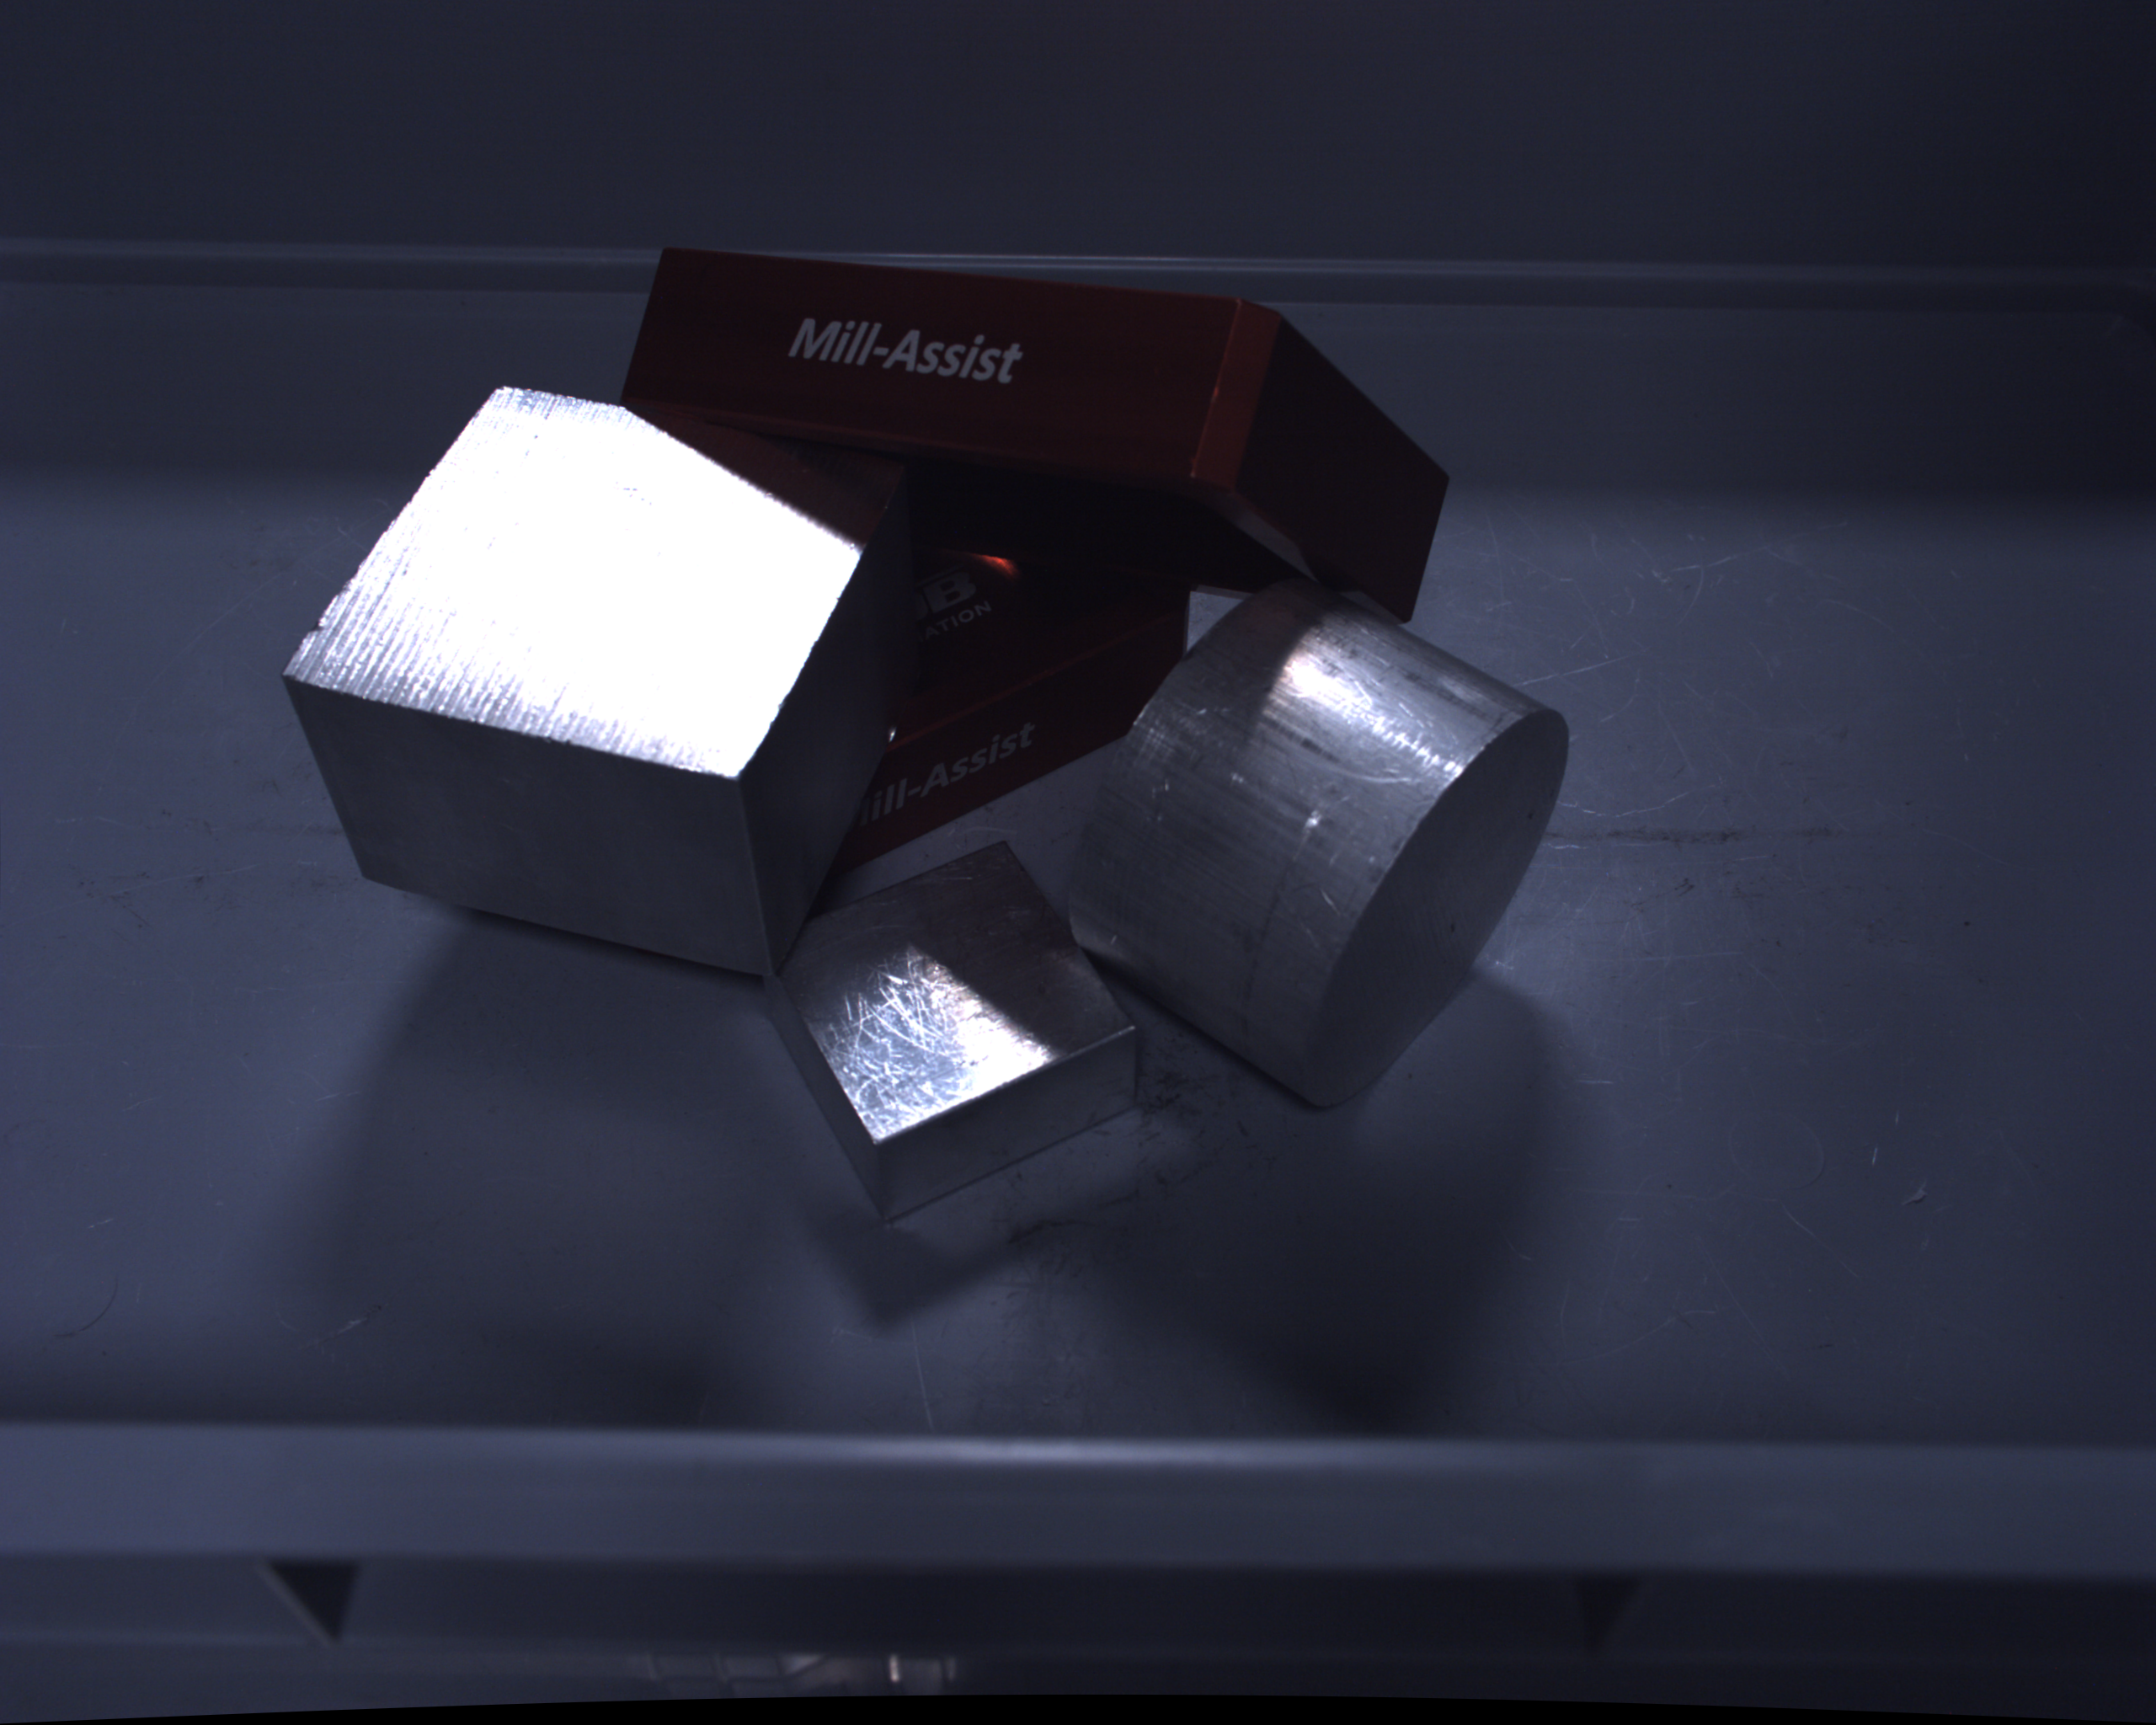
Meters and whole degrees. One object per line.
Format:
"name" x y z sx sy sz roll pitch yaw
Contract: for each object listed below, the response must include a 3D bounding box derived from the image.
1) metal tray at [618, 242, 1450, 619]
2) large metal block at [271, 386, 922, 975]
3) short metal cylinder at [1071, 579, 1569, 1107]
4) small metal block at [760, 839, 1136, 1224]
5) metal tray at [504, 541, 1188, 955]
"metal tray" -0.008 -0.080 0.390 0.130 0.090 0.030 15 89 30
"large metal block" -0.080 -0.034 0.373 0.080 0.050 0.080 13 51 10
"short metal cylinder" 0.044 -0.004 0.372 0.050 0.080 0.080 32 57 24
"small metal block" -0.024 0.030 0.378 0.050 0.025 0.050 -23 54 -19
"metal tray" -0.054 -0.045 0.436 0.131 0.030 0.090 -27 55 -22
